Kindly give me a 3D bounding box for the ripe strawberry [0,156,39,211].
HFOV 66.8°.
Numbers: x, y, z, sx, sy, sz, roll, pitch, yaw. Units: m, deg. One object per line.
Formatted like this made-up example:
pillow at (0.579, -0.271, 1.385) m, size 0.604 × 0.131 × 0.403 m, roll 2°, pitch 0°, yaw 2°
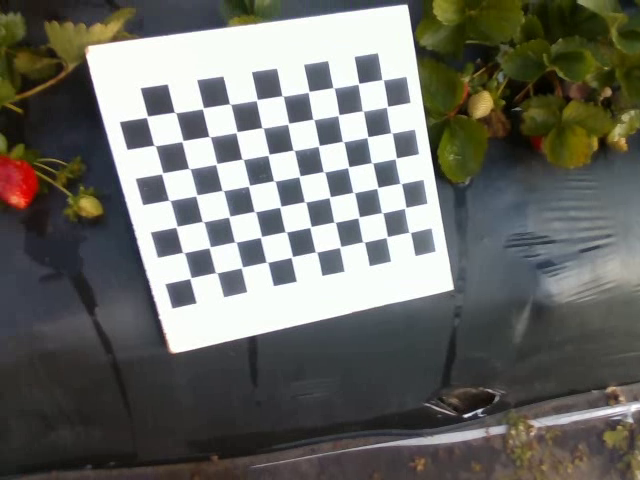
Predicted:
ripe strawberry at (-0.263, -0.043, 0.409) m, size 0.043 × 0.052 × 0.057 m, roll -38°, pitch 39°, yaw -1°
